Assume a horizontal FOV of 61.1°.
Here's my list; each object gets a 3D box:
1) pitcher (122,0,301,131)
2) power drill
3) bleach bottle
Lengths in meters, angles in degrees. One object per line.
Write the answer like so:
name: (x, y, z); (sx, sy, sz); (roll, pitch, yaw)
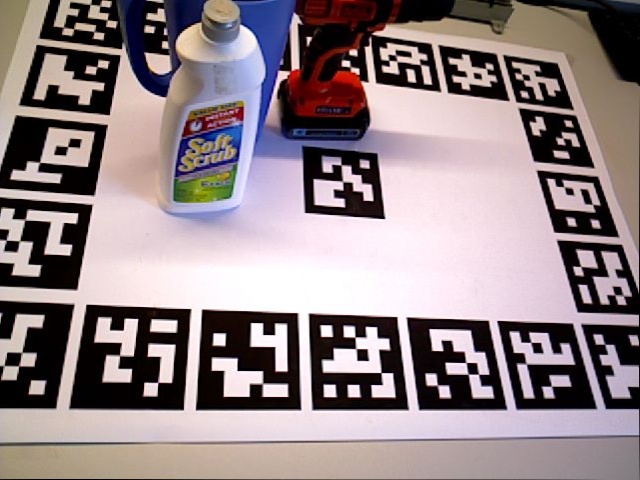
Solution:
pitcher: (-0.103, -0.207, 0.558); (0.185, 0.248, 0.133); (-22, 71, -23)
power drill: (0.056, -0.209, 0.609); (0.182, 0.191, 0.057); (1, 65, -20)
bleach bottle: (-0.103, -0.128, 0.493); (0.101, 0.256, 0.067); (-4, 63, -16)
